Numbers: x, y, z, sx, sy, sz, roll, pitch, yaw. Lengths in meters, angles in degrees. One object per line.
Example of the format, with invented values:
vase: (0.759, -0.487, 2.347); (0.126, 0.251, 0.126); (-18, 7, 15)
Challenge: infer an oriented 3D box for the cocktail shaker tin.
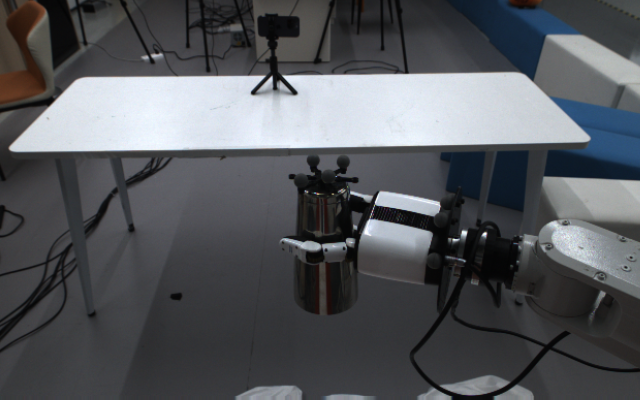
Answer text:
cocktail shaker tin: (0.009, 0.056, 0.648); (0.093, 0.170, 0.093); (-1, 26, 1)
